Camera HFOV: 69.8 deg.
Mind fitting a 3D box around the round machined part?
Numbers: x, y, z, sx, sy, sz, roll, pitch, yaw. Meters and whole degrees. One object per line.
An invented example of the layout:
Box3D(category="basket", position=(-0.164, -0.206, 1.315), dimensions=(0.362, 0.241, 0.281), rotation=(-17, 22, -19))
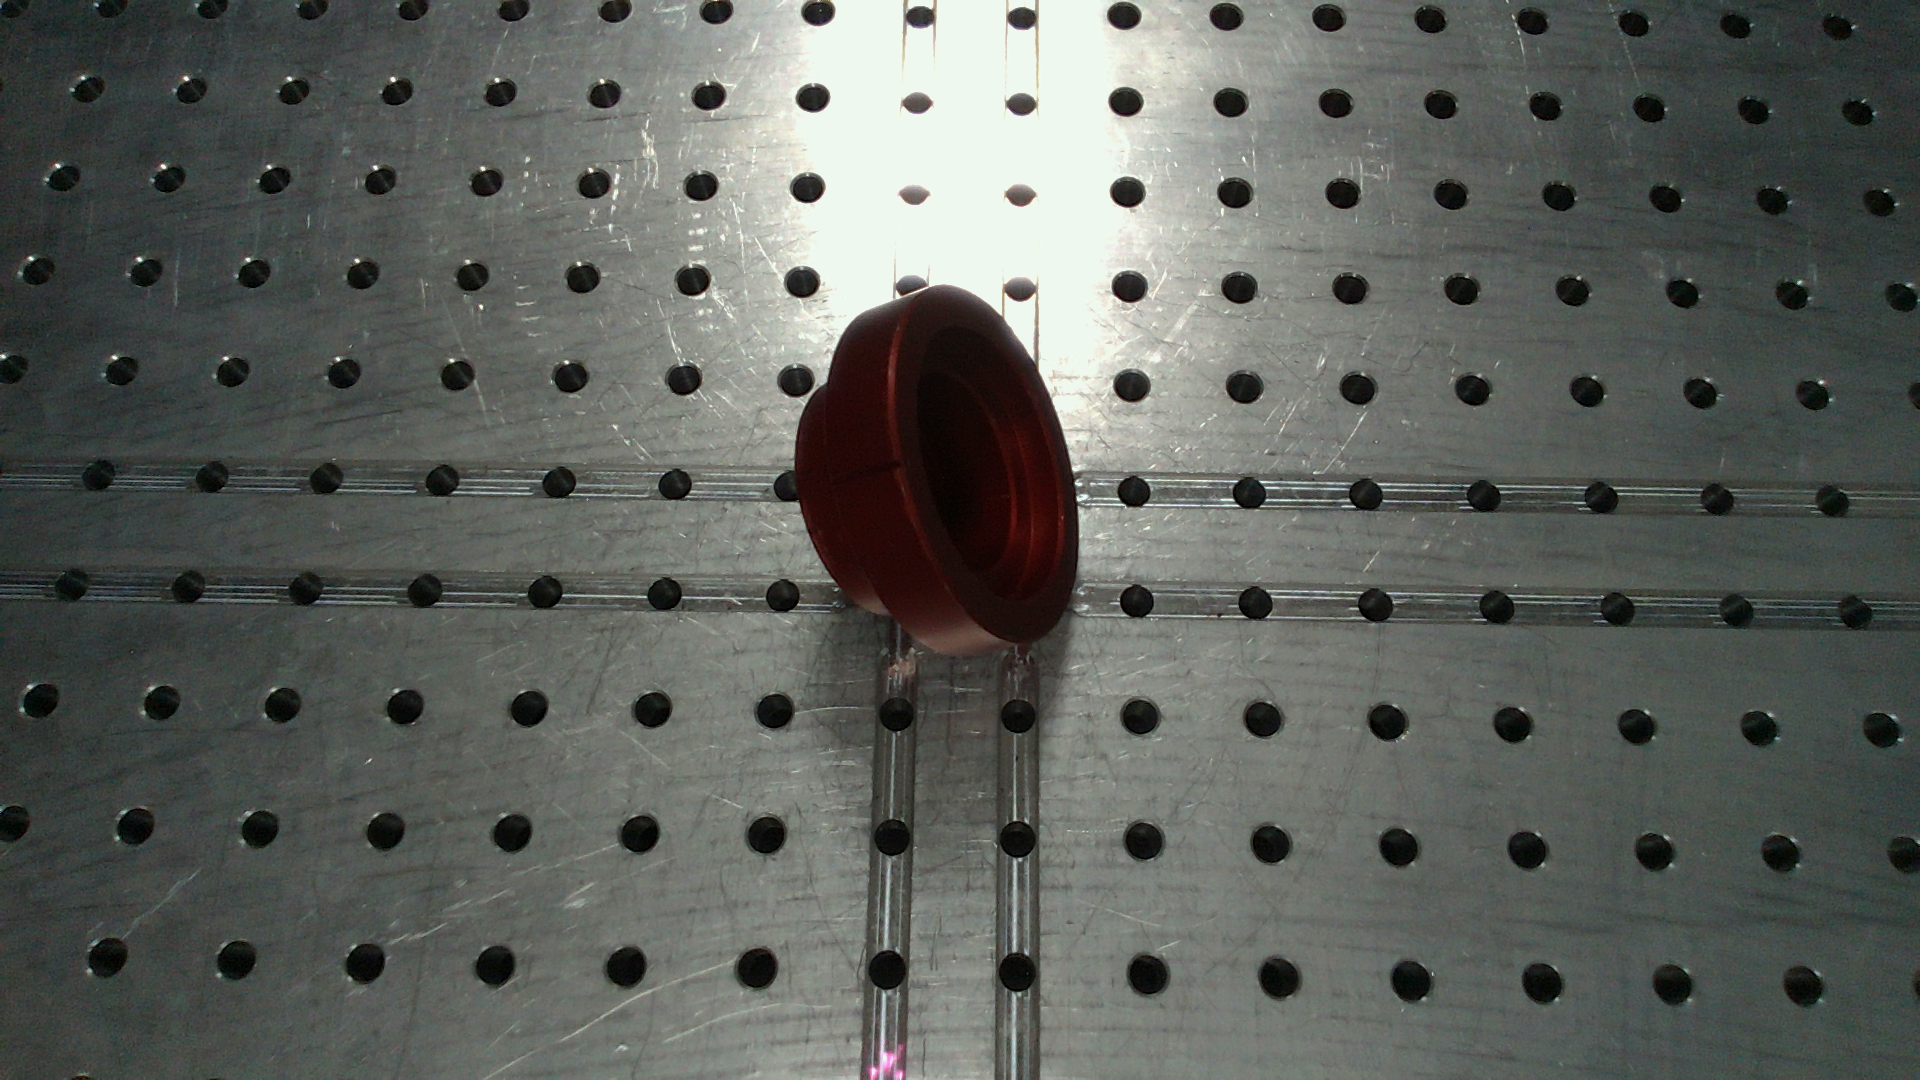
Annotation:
Box3D(category="round machined part", position=(-0.008, -0.017, 0.374), dimensions=(0.042, 0.098, 0.098), rotation=(-14, 67, 29))
